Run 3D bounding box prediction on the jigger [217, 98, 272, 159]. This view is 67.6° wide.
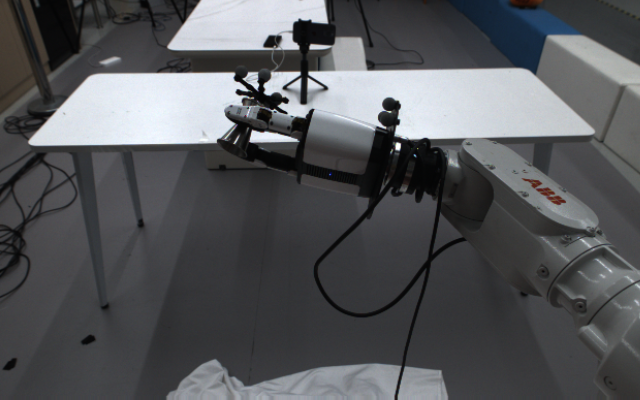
[{"bbox_3d":[-0.101,-0.097,0.635,0.043,0.043,0.071,19,72,23],"label":"jigger"}]
